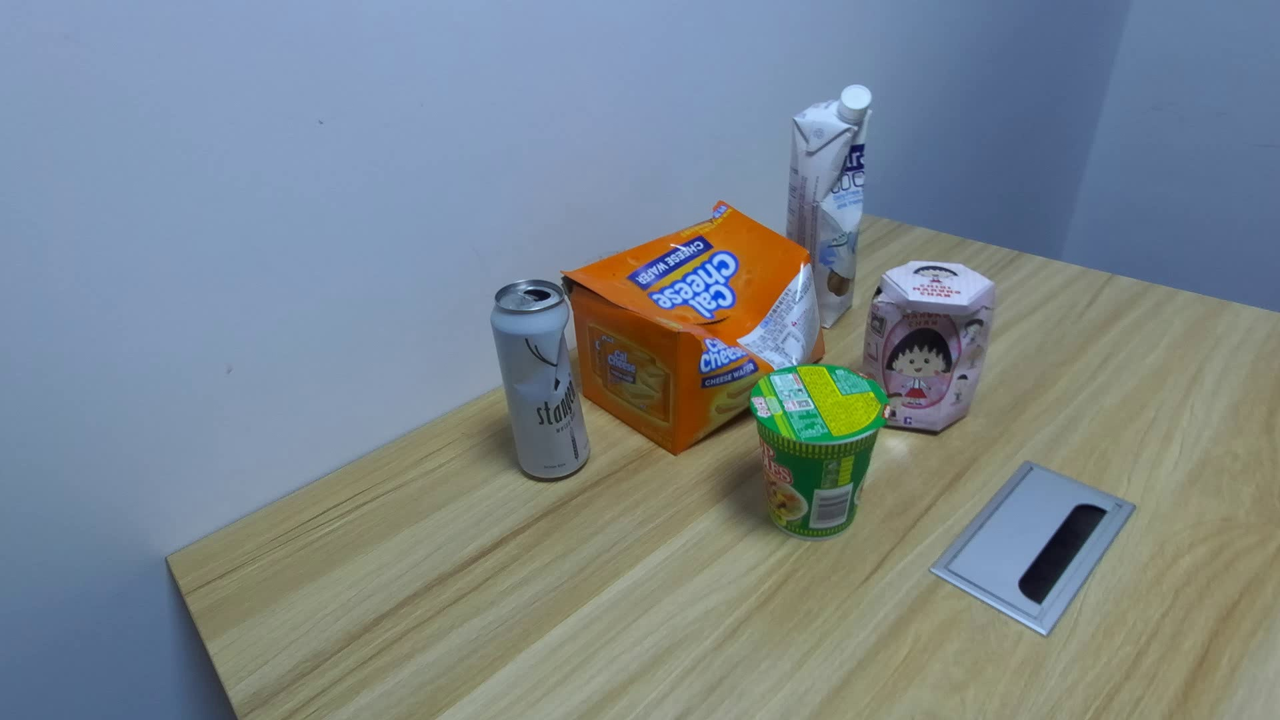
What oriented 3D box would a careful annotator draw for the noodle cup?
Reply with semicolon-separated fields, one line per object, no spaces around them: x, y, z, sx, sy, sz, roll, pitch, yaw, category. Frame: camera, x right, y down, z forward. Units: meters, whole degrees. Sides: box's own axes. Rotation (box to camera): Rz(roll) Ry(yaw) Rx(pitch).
0.130;0.074;0.529;0.097;0.110;0.097;-4;32;3;noodle cup

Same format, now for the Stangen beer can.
-0.081;0.018;0.598;0.070;0.173;0.069;-29;39;-33;Stangen beer can

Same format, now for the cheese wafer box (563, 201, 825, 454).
0.069;-0.038;0.687;0.220;0.145;0.190;-28;39;-32;cheese wafer box

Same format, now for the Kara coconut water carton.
0.199;-0.161;0.759;0.083;0.256;0.078;-26;39;-31;Kara coconut water carton

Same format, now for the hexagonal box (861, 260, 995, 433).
0.252;-0.012;0.631;0.090;0.134;0.090;-20;35;-27;hexagonal box
